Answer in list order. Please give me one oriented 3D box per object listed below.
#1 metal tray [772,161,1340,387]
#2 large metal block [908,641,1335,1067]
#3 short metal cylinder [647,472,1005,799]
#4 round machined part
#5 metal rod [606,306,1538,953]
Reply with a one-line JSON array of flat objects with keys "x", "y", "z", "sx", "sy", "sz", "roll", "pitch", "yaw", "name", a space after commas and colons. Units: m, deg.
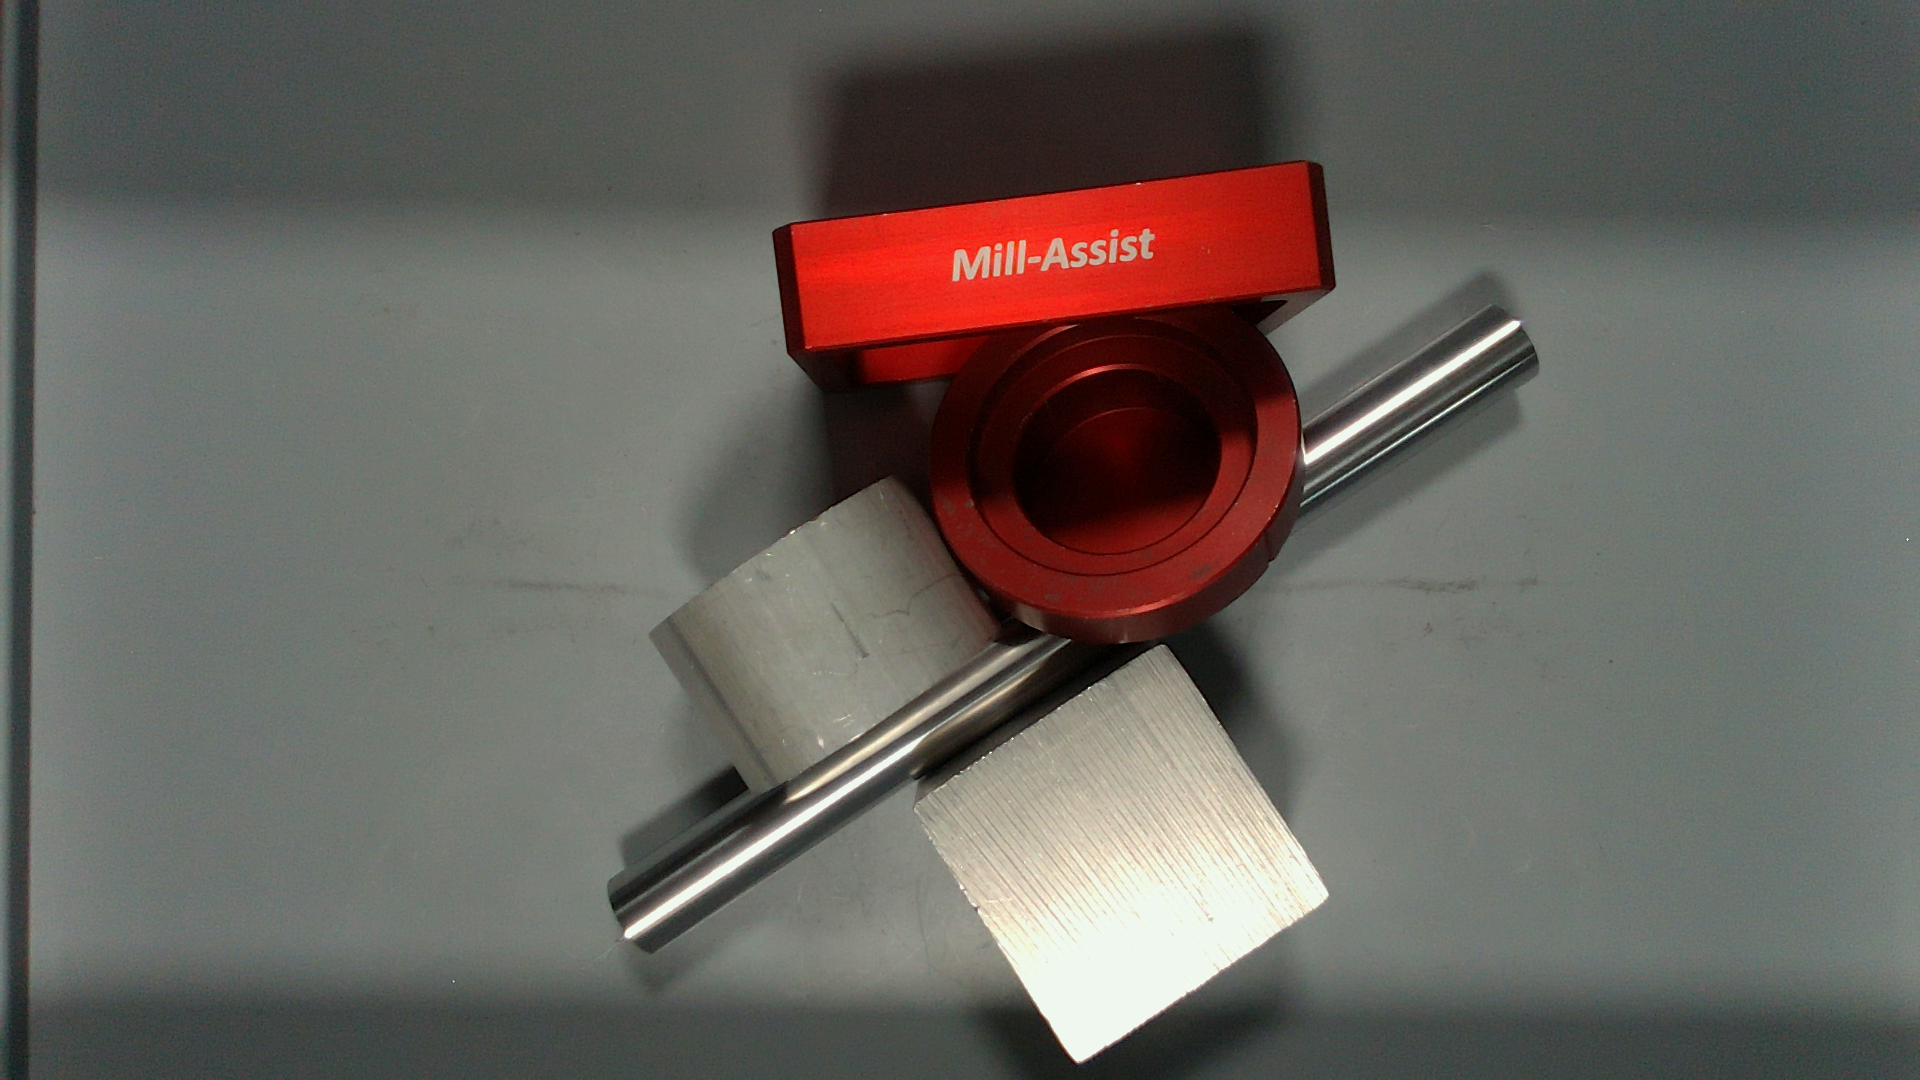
[{"x": 0.022, "y": -0.066, "z": 0.360, "sx": 0.130, "sy": 0.090, "sz": 0.030, "roll": -7, "pitch": 90, "yaw": 0, "name": "metal tray"}, {"x": 0.042, "y": 0.081, "z": 0.381, "sx": 0.080, "sy": 0.050, "sz": 0.080, "roll": -33, "pitch": 90, "yaw": 0, "name": "large metal block"}, {"x": -0.035, "y": 0.025, "z": 0.367, "sx": 0.080, "sy": 0.080, "sz": 0.050, "roll": -34, "pitch": 90, "yaw": 0, "name": "short metal cylinder"}, {"x": 0.044, "y": -0.018, "z": 0.372, "sx": 0.098, "sy": 0.042, "sz": 0.098, "roll": -6, "pitch": 64, "yaw": 13, "name": "round machined part"}, {"x": 0.032, "y": 0.025, "z": 0.394, "sx": 0.300, "sy": 0.025, "sz": 0.025, "roll": -33, "pitch": 90, "yaw": 0, "name": "metal rod"}]
